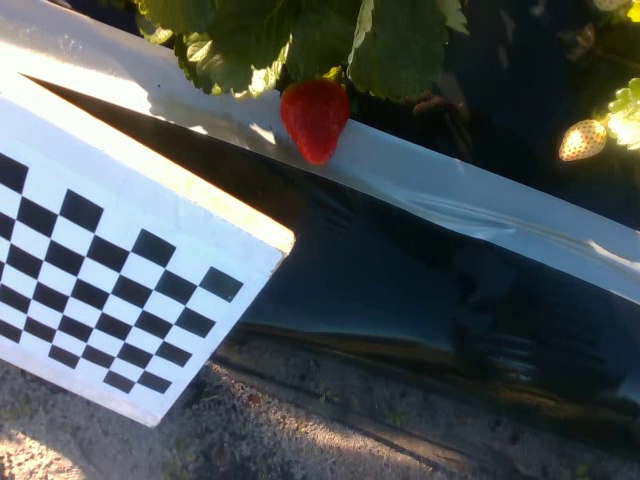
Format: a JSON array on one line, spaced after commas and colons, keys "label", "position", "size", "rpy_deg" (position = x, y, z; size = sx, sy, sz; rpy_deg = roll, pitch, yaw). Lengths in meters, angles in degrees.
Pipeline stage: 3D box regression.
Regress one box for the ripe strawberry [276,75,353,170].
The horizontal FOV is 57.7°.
[{"label": "ripe strawberry", "position": [-0.003, -0.071, 0.342], "size": [0.045, 0.064, 0.048], "rpy_deg": [-22, -31, 33]}]
